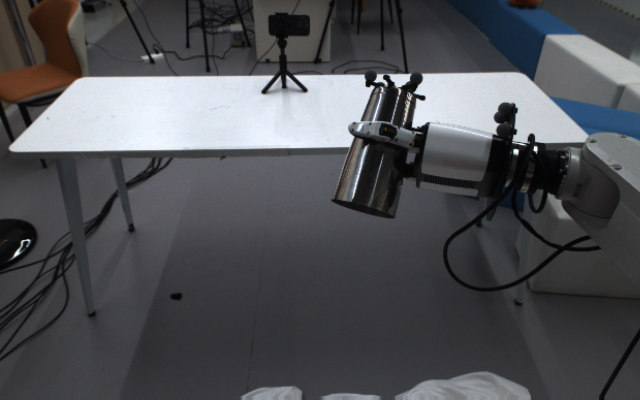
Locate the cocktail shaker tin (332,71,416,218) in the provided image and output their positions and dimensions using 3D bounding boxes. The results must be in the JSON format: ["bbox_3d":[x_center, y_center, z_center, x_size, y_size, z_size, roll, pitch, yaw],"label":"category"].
[{"bbox_3d":[0.081,-0.070,0.681,0.093,0.170,0.093,16,-7,2],"label":"cocktail shaker tin"}]
